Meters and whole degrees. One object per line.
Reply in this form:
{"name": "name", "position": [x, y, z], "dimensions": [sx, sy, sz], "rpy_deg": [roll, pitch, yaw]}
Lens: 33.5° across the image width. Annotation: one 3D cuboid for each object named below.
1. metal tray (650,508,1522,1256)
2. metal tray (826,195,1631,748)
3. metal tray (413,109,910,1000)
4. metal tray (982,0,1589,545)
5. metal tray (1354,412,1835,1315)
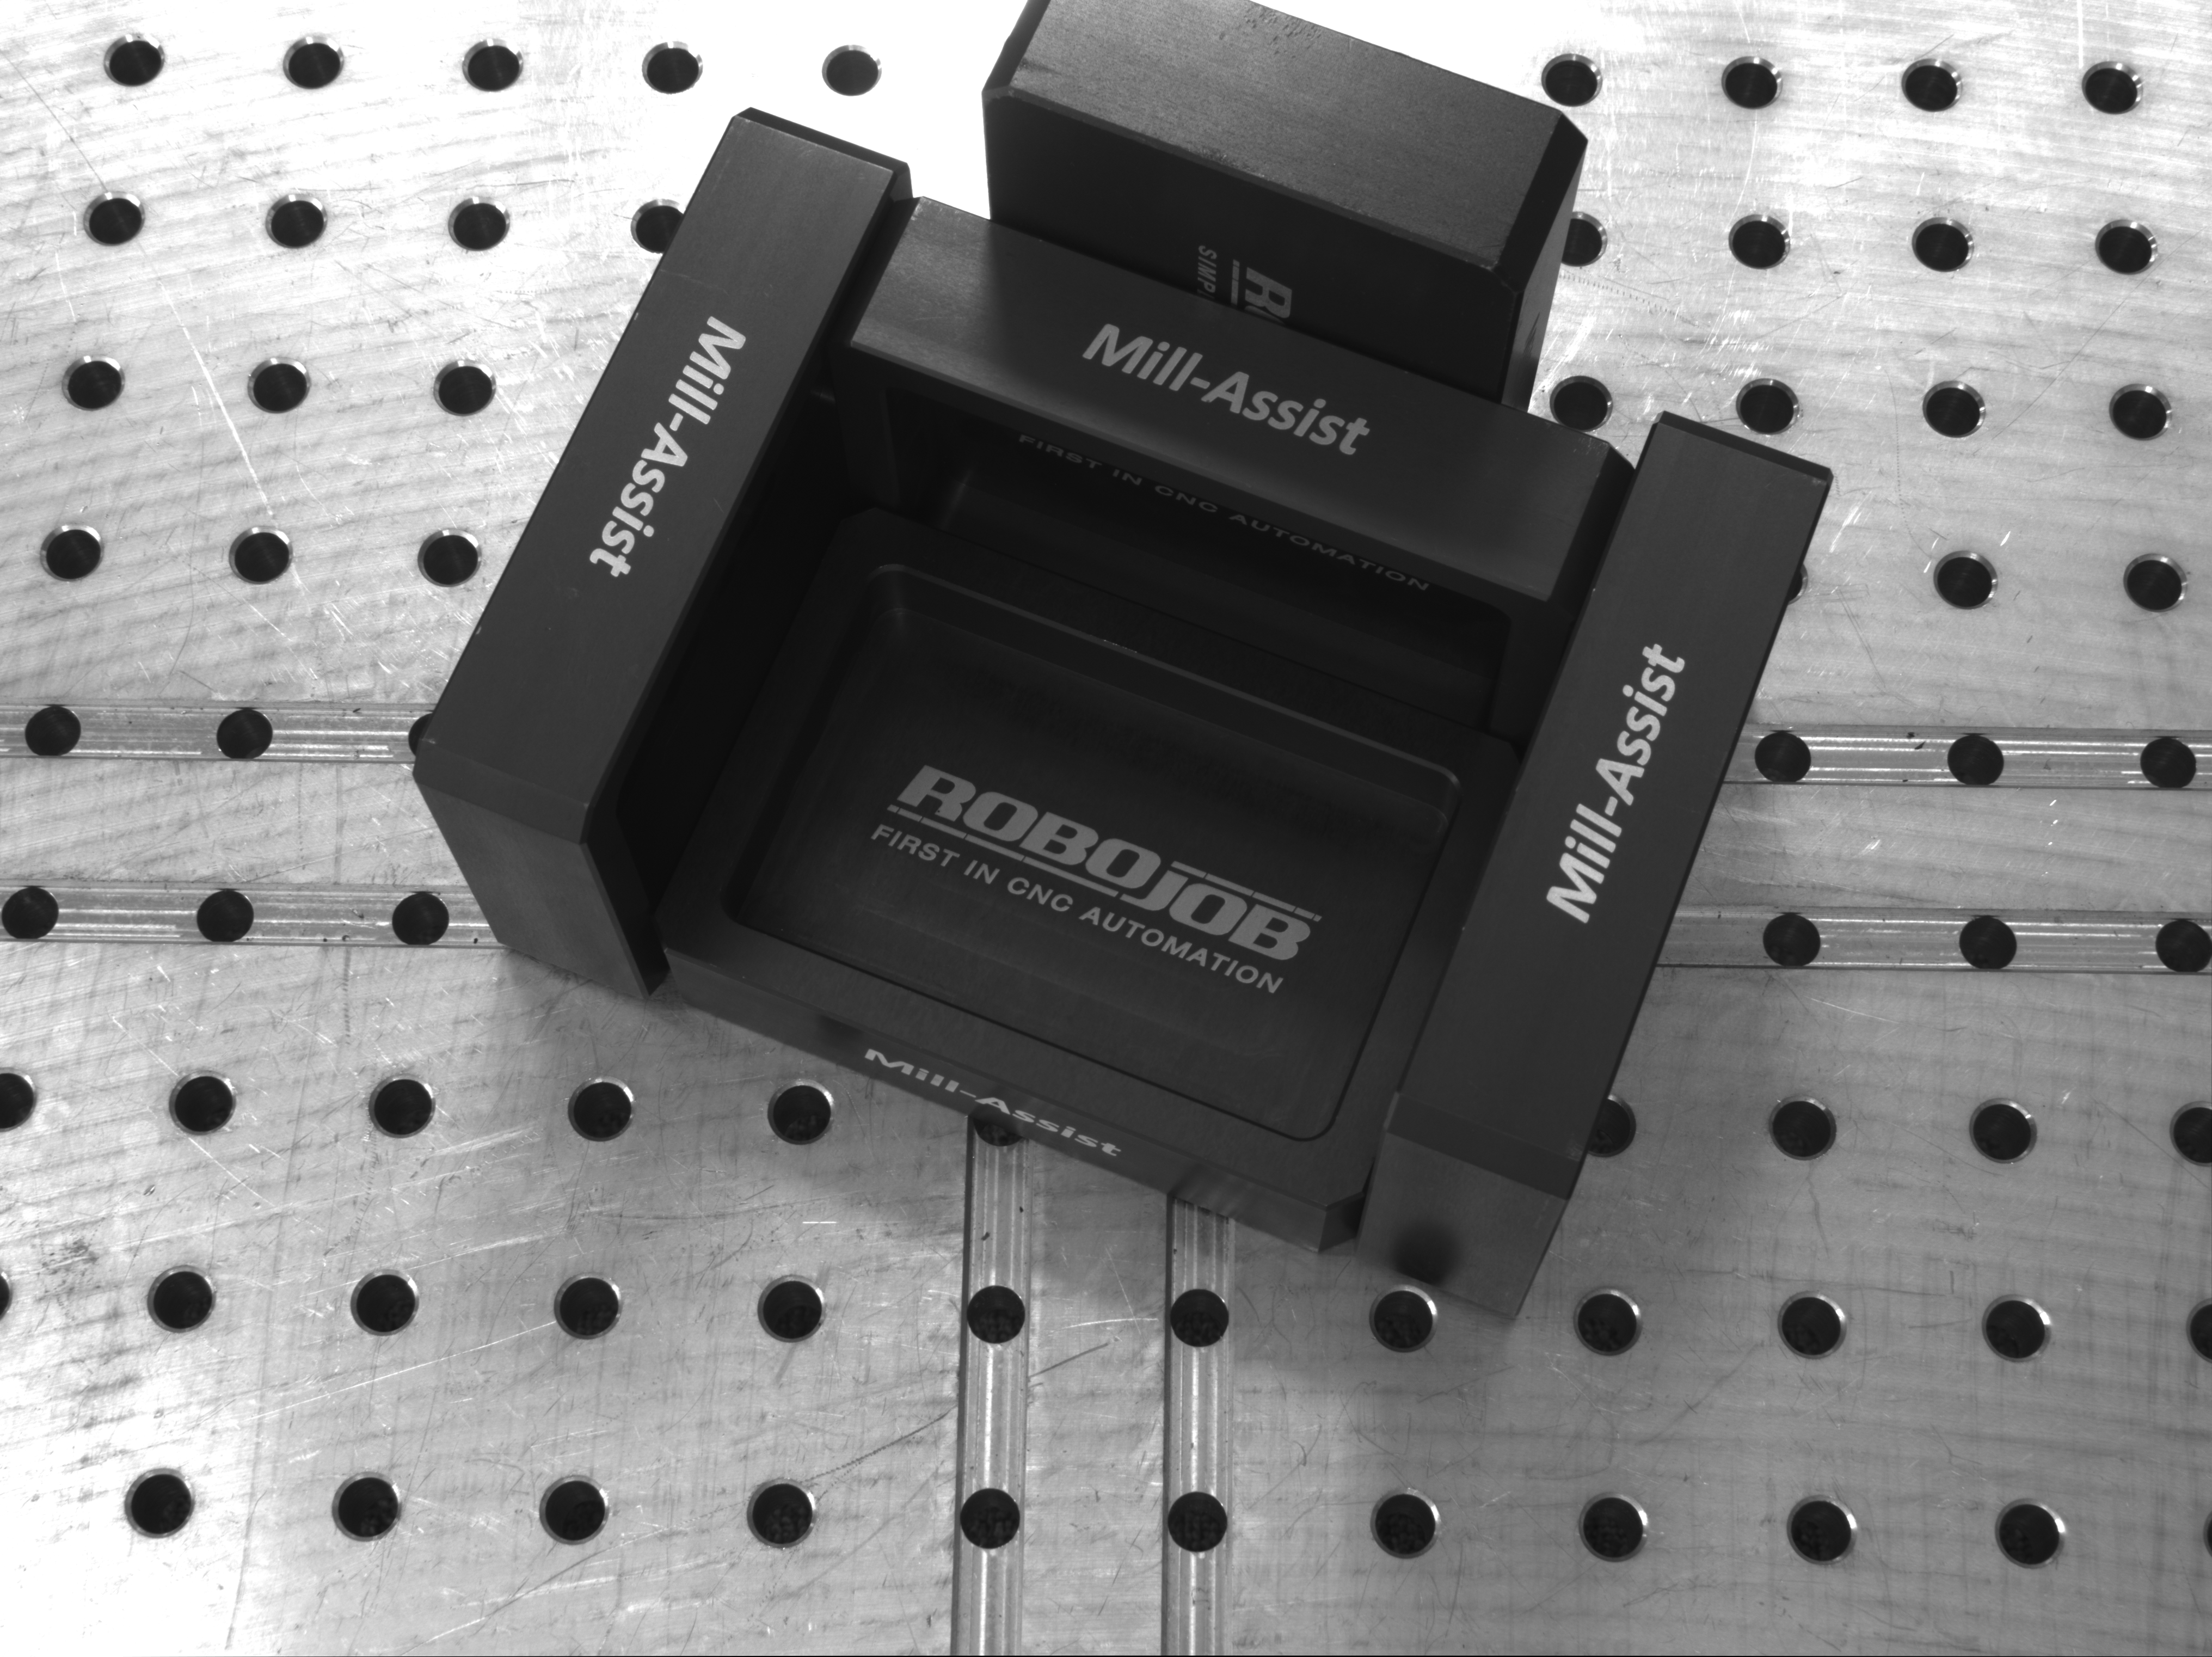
{"name": "metal tray", "position": [-0.002, 0.009, 0.642], "dimensions": [0.130, 0.030, 0.090], "rpy_deg": [21, 71, 7]}
{"name": "metal tray", "position": [0.020, -0.055, 0.633], "dimensions": [0.130, 0.090, 0.030], "rpy_deg": [21, 72, 7]}
{"name": "metal tray", "position": [-0.071, -0.045, 0.630], "dimensions": [0.030, 0.090, 0.130], "rpy_deg": [21, 71, 7]}
{"name": "metal tray", "position": [0.028, -0.090, 0.624], "dimensions": [0.090, 0.130, 0.030], "rpy_deg": [21, 72, 8]}
{"name": "metal tray", "position": [0.080, 0.008, 0.610], "dimensions": [0.030, 0.090, 0.130], "rpy_deg": [20, 71, 8]}
